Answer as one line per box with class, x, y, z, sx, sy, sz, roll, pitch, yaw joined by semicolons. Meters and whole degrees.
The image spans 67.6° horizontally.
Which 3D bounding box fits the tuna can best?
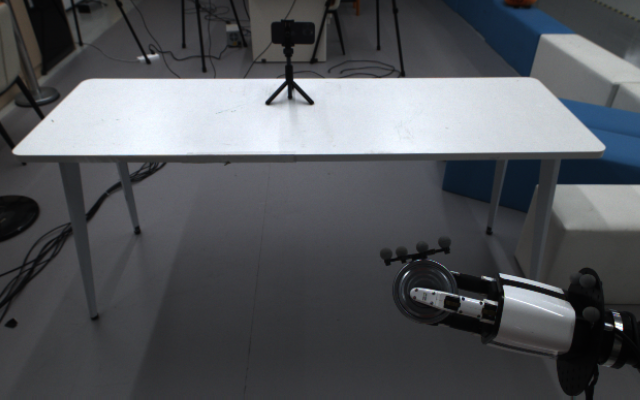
tuna can;0.143;0.118;0.645;0.085;0.085;0.034;12;-6;14
